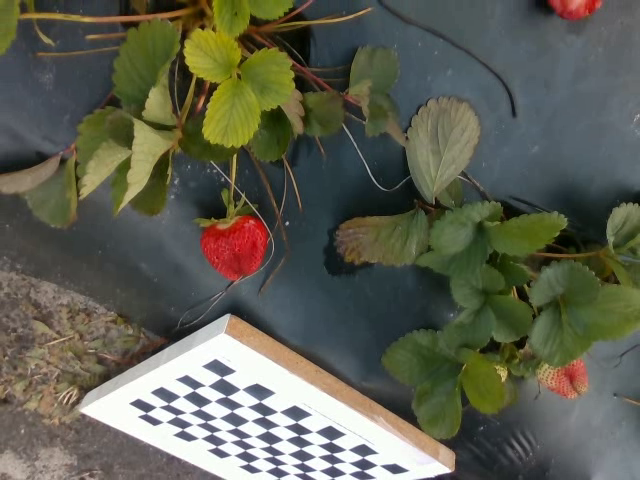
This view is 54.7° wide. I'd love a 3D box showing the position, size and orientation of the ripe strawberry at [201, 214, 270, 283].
[{"bbox_3d":[-0.018,0.003,0.123,0.017,0.015,0.013,-10,0,26],"label":"ripe strawberry"}]
